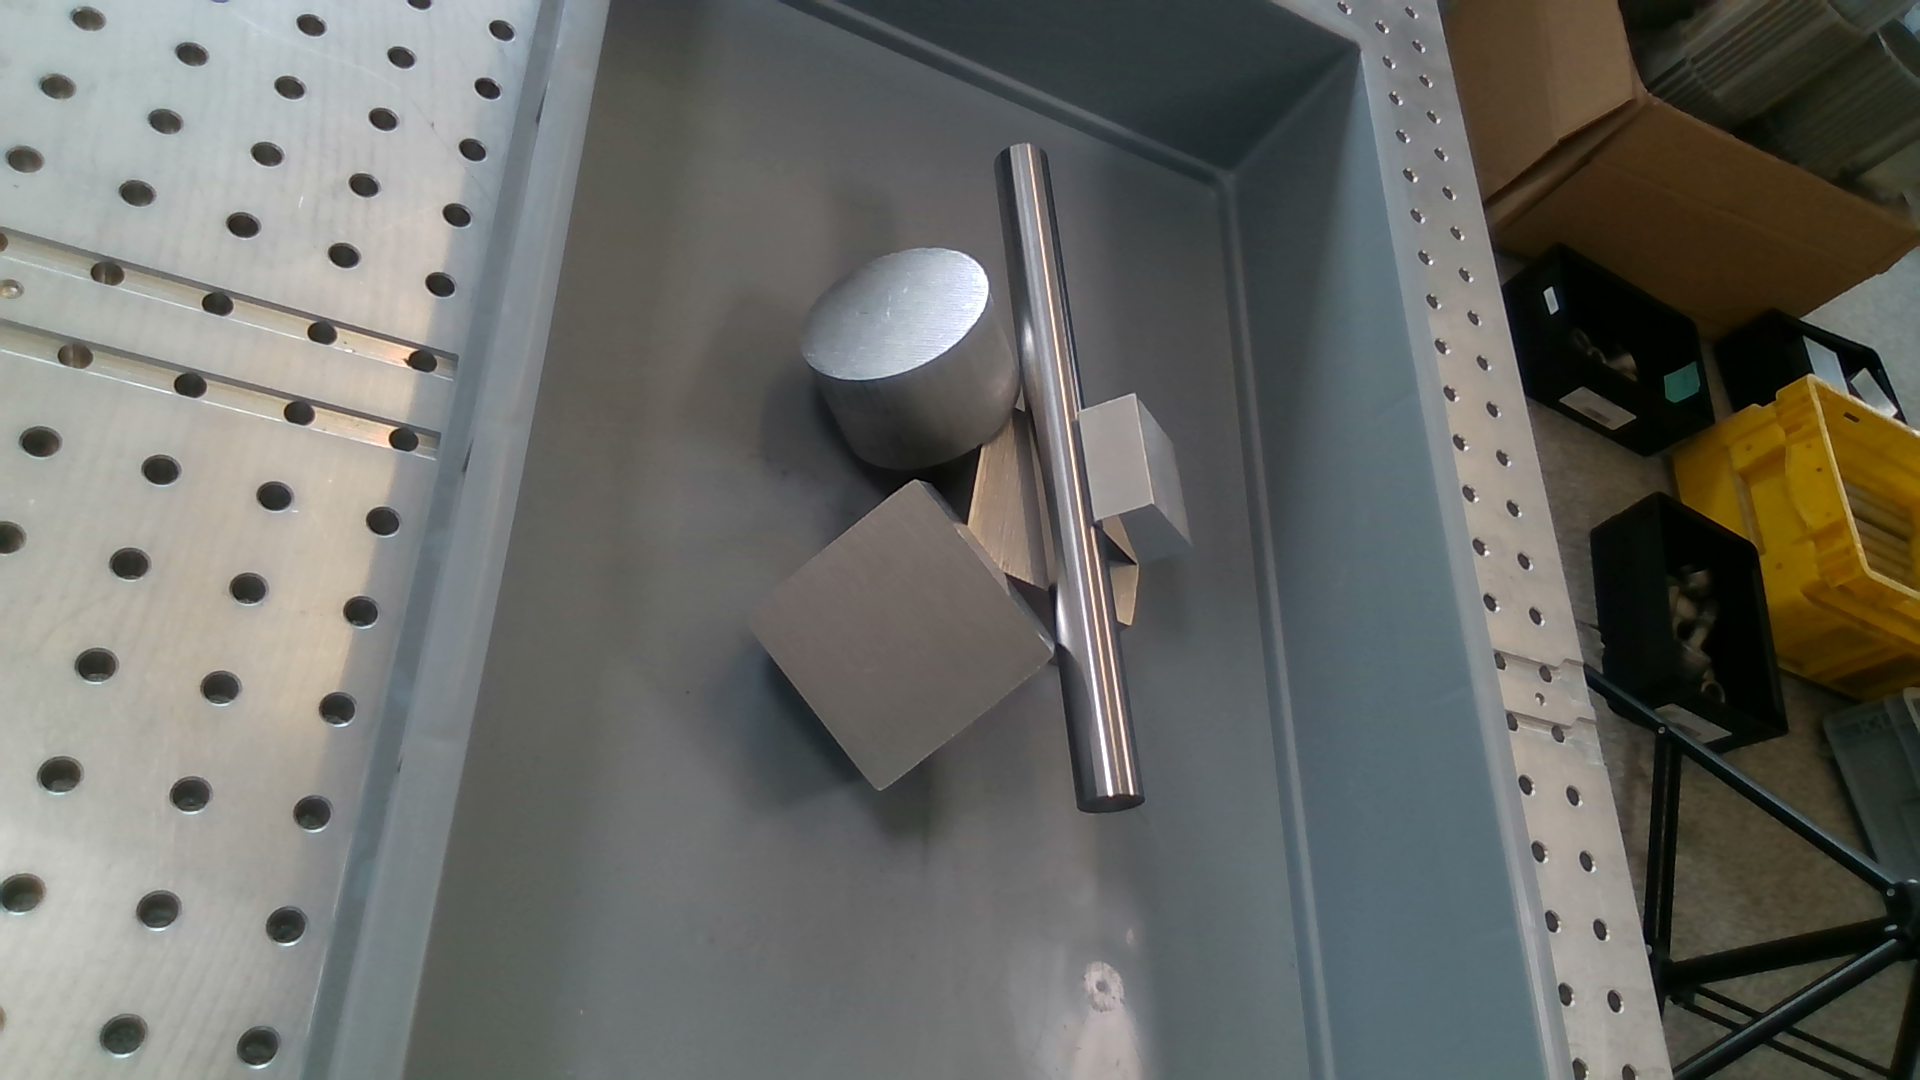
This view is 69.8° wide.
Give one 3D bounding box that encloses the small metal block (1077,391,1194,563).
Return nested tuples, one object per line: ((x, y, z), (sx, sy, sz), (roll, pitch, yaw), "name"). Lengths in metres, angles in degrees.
((0.072, -0.025, 0.562), (0.050, 0.025, 0.050), (38, 40, -56), "small metal block")

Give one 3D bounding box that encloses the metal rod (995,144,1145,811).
((0.041, -0.039, 0.566), (0.025, 0.025, 0.299), (9, 61, -28), "metal rod")

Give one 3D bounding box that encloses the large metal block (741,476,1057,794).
((-0.020, 0.033, 0.511), (0.080, 0.050, 0.080), (-39, 88, 5), "large metal block")

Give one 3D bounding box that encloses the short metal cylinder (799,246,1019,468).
((-0.020, -0.076, 0.570), (0.050, 0.080, 0.080), (66, 35, -45), "short metal cylinder")

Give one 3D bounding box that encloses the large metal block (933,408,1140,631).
((0.031, -0.003, 0.589), (0.080, 0.050, 0.080), (24, 55, -19), "large metal block")
